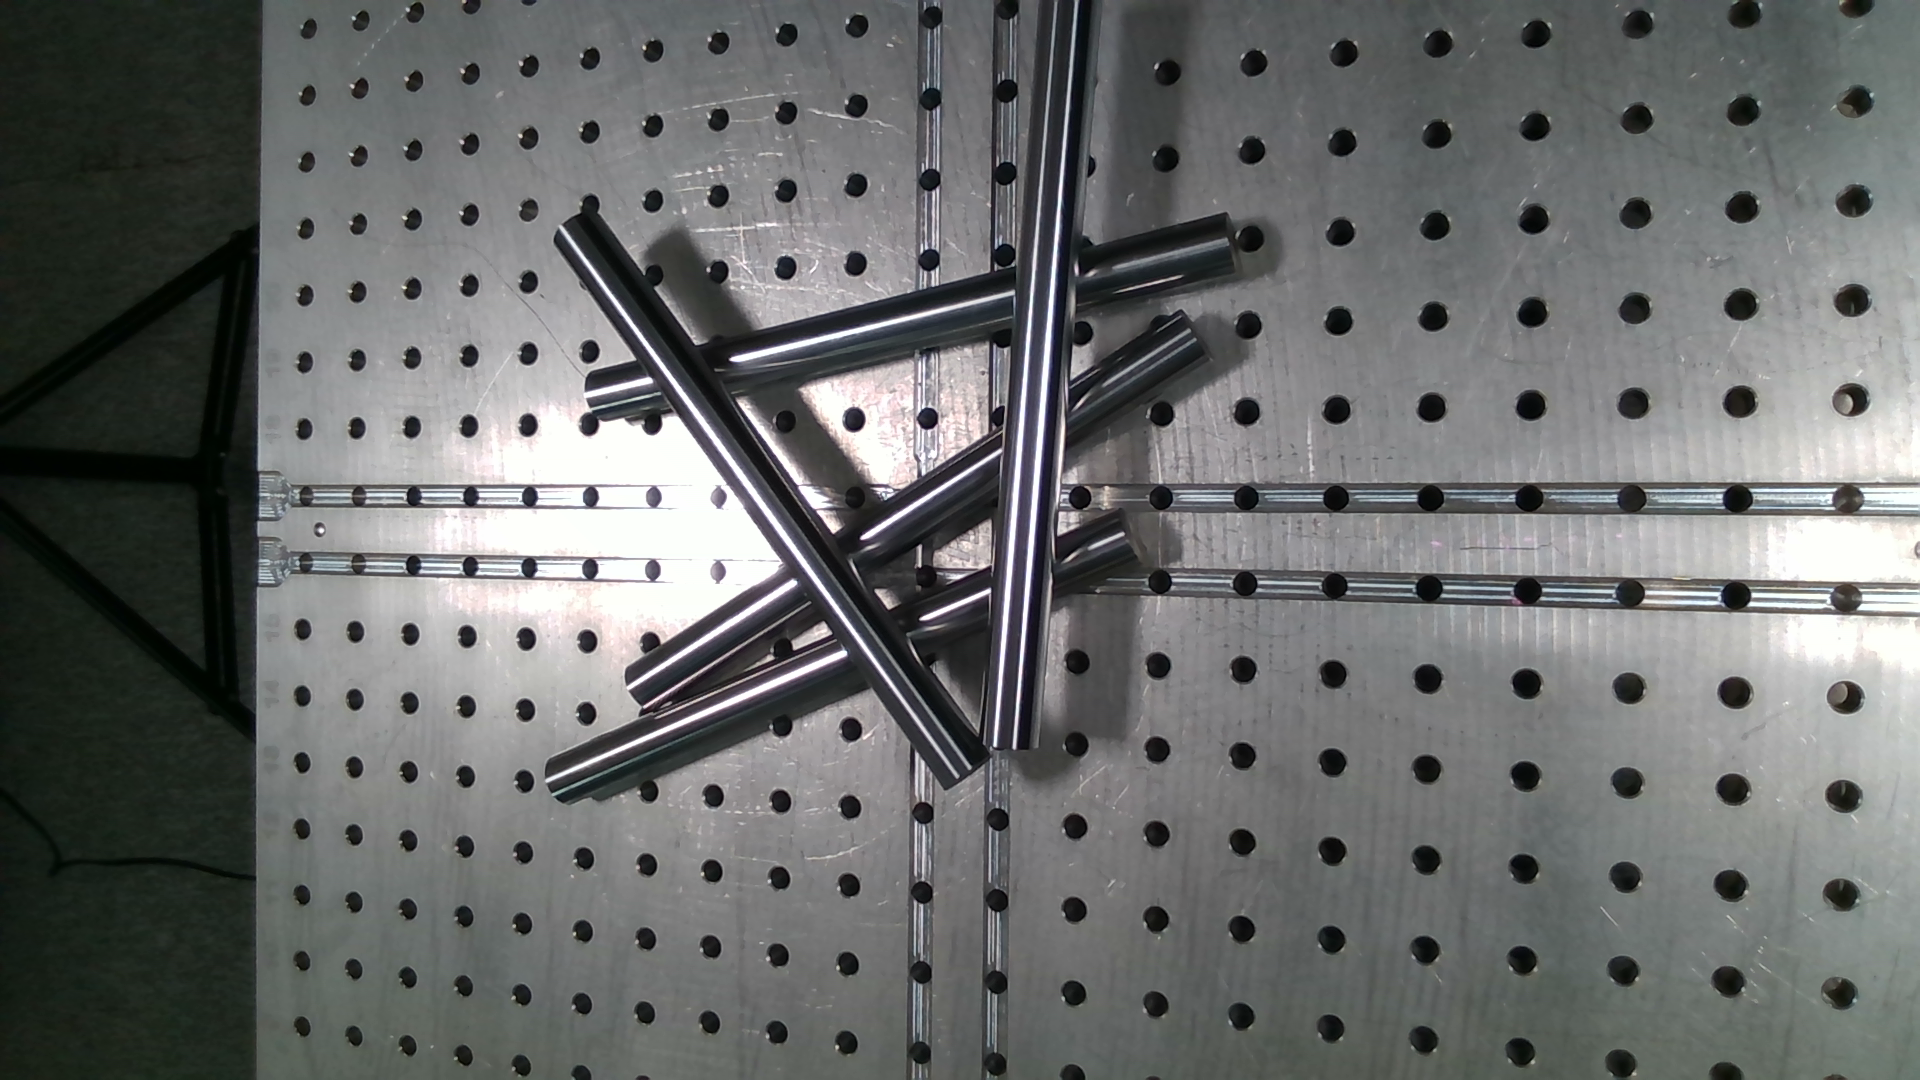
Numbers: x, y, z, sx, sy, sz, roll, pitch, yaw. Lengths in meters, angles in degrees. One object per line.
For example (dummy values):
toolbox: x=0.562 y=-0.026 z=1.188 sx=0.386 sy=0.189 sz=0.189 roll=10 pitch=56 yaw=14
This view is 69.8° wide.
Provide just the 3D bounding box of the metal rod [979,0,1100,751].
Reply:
metal rod: x=0.031 y=-0.067 z=0.549 sx=0.025 sy=0.025 sz=0.300 roll=5 pitch=92 yaw=20

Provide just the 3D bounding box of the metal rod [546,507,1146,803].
metal rod: x=-0.059 y=0.056 z=0.610 sx=0.300 sy=0.025 sz=0.025 roll=-24 pitch=82 yaw=19

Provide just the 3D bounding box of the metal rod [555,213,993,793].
metal rod: x=-0.085 y=-0.022 z=0.592 sx=0.025 sy=0.025 sz=0.300 roll=-40 pitch=77 yaw=16

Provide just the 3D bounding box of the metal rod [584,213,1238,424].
metal rod: x=-0.031 y=-0.092 z=0.598 sx=0.300 sy=0.025 sz=0.025 roll=-10 pitch=87 yaw=20

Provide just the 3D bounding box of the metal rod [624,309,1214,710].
metal rod: x=-0.026 y=-0.007 z=0.597 sx=0.300 sy=0.025 sz=0.025 roll=-32 pitch=80 yaw=18
